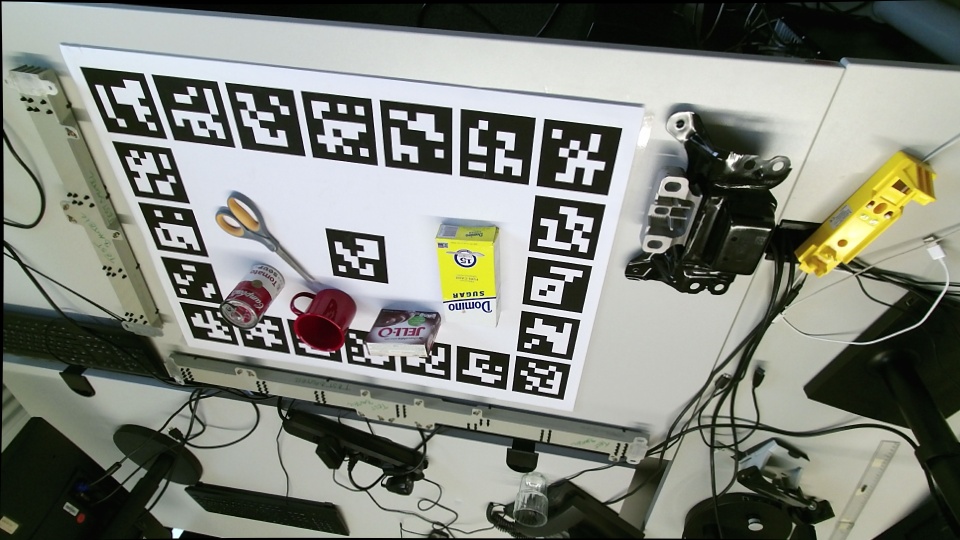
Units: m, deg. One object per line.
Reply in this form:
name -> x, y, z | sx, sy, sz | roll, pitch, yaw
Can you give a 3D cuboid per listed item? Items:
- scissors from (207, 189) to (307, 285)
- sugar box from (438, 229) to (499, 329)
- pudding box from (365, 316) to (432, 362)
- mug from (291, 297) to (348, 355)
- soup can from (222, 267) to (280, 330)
scissors -> -0.375, -0.044, 0.923 | 0.088, 0.016, 0.203 | -34, 111, 19
sugar box -> -0.019, 0.019, 0.883 | 0.093, 0.045, 0.176 | 5, 123, 6
pudding box -> -0.150, 0.122, 0.945 | 0.114, 0.090, 0.038 | 0, 117, 12
mug -> -0.297, 0.097, 0.966 | 0.093, 0.081, 0.117 | -25, 117, 23
soup can -> -0.409, 0.049, 0.953 | 0.068, 0.101, 0.068 | 5, 126, 7
